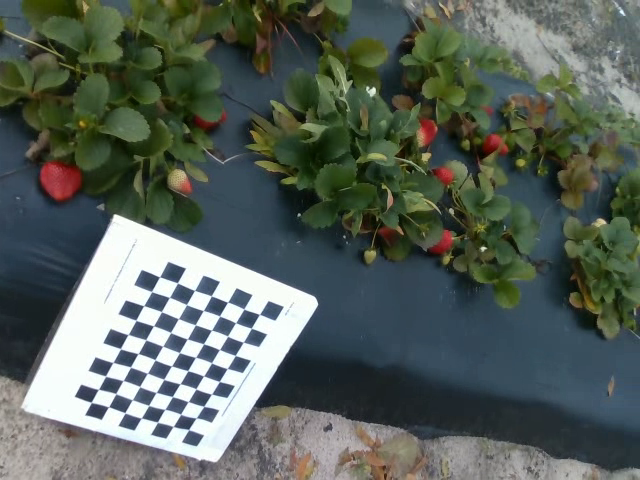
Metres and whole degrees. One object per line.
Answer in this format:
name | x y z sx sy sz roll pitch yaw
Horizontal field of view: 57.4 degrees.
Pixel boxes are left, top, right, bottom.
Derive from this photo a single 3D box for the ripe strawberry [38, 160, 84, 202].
ripe strawberry | -0.242 -0.054 0.527 0.037 0.046 0.037 -15 -24 2
